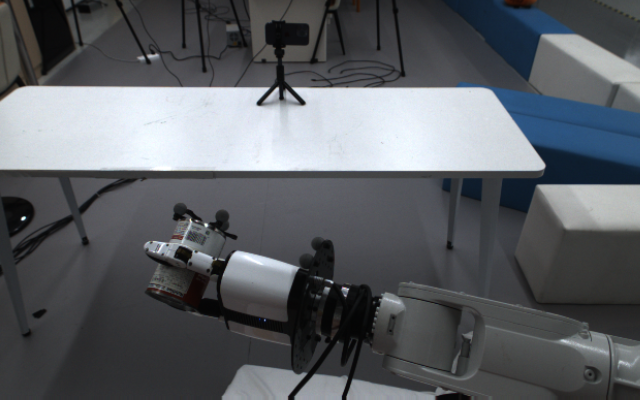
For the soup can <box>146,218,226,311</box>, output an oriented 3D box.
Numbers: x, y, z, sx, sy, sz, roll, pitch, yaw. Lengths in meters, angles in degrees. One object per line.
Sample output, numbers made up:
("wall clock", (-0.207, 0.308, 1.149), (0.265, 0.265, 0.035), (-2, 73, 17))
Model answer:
("soup can", (-0.167, 0.084, 0.616), (0.067, 0.067, 0.101), (13, 66, 15))
